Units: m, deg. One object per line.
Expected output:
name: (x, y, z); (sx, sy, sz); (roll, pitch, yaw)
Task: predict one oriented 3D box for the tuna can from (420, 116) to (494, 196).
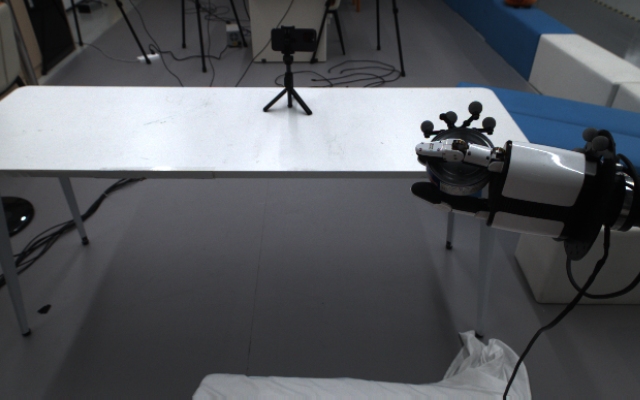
tuna can: (0.179, -0.051, 0.625); (0.085, 0.034, 0.085); (-6, 61, 10)
